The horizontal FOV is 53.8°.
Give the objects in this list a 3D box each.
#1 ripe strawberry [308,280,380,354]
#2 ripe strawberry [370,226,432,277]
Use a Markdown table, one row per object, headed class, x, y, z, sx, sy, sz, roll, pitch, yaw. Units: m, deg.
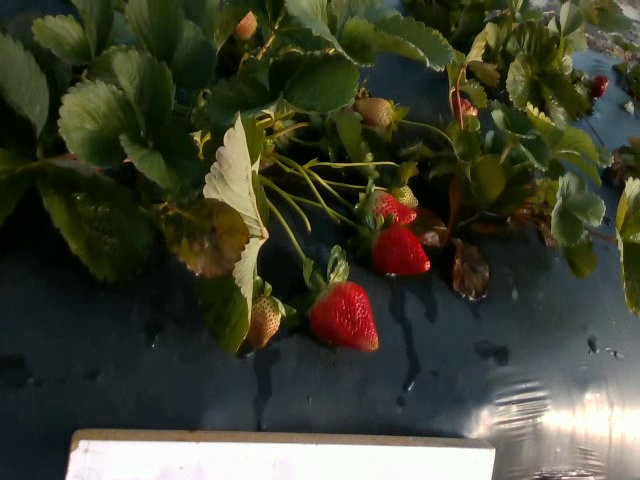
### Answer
| class | x | y | z | sx | sy | sz | roll | pitch | yaw |
| --- | --- | --- | --- | --- | --- | --- | --- | --- | --- |
| ripe strawberry | 0.022 | 0.057 | 0.445 | 0.050 | 0.050 | 0.065 | -33 | 49 | -15 |
| ripe strawberry | 0.068 | 0.014 | 0.504 | 0.055 | 0.045 | 0.042 | 29 | -10 | 31 |
